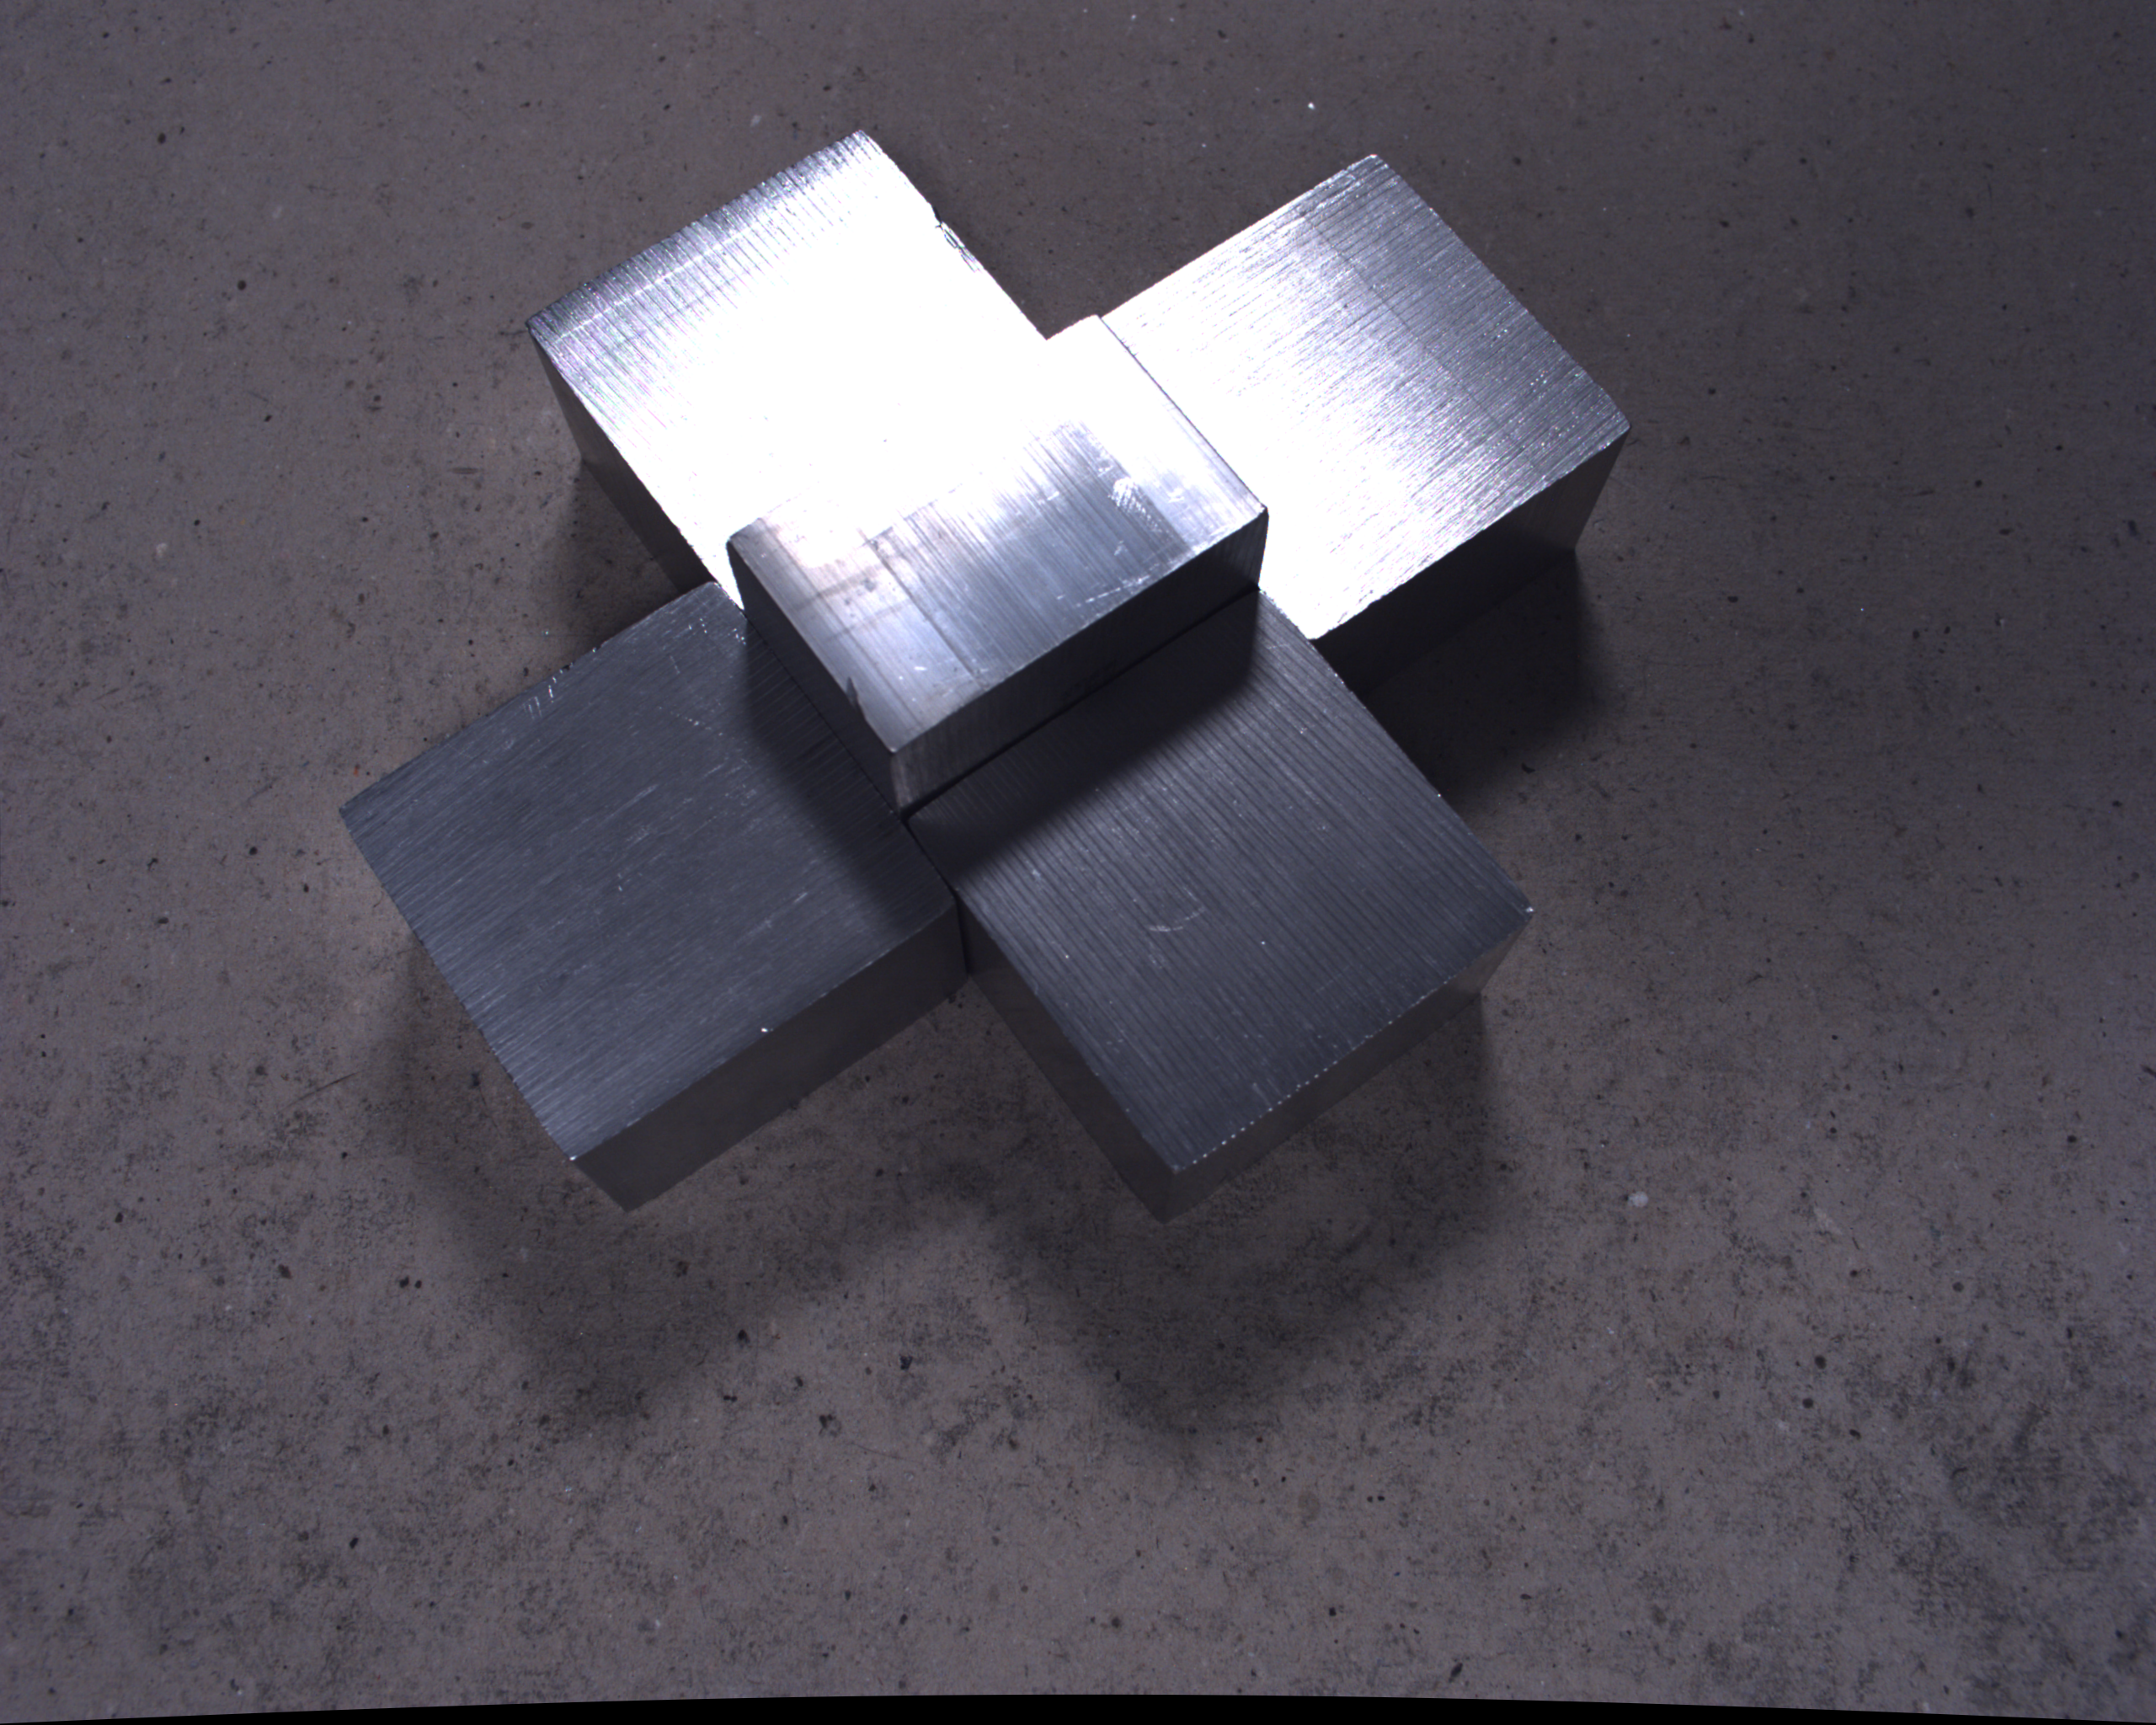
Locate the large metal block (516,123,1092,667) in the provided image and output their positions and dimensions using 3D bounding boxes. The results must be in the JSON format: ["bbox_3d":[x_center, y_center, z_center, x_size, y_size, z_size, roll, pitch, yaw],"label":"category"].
[{"bbox_3d":[-0.053,-0.089,0.427,0.080,0.050,0.080,-35,74,-12],"label":"large metal block"}]

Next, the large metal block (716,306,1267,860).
[{"bbox_3d":[-0.015,-0.045,0.396,0.080,0.080,0.050,-35,74,-12],"label":"large metal block"}]

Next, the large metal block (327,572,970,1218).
[{"bbox_3d":[-0.077,0.007,0.392,0.080,0.050,0.080,-35,74,-12],"label":"large metal block"}]

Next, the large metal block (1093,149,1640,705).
[{"bbox_3d":[0.052,-0.084,0.426,0.080,0.050,0.080,-35,74,-12],"label":"large metal block"}]

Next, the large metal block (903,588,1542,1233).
[{"bbox_3d":[0.025,0.010,0.392,0.080,0.050,0.080,-35,74,-12],"label":"large metal block"}]
